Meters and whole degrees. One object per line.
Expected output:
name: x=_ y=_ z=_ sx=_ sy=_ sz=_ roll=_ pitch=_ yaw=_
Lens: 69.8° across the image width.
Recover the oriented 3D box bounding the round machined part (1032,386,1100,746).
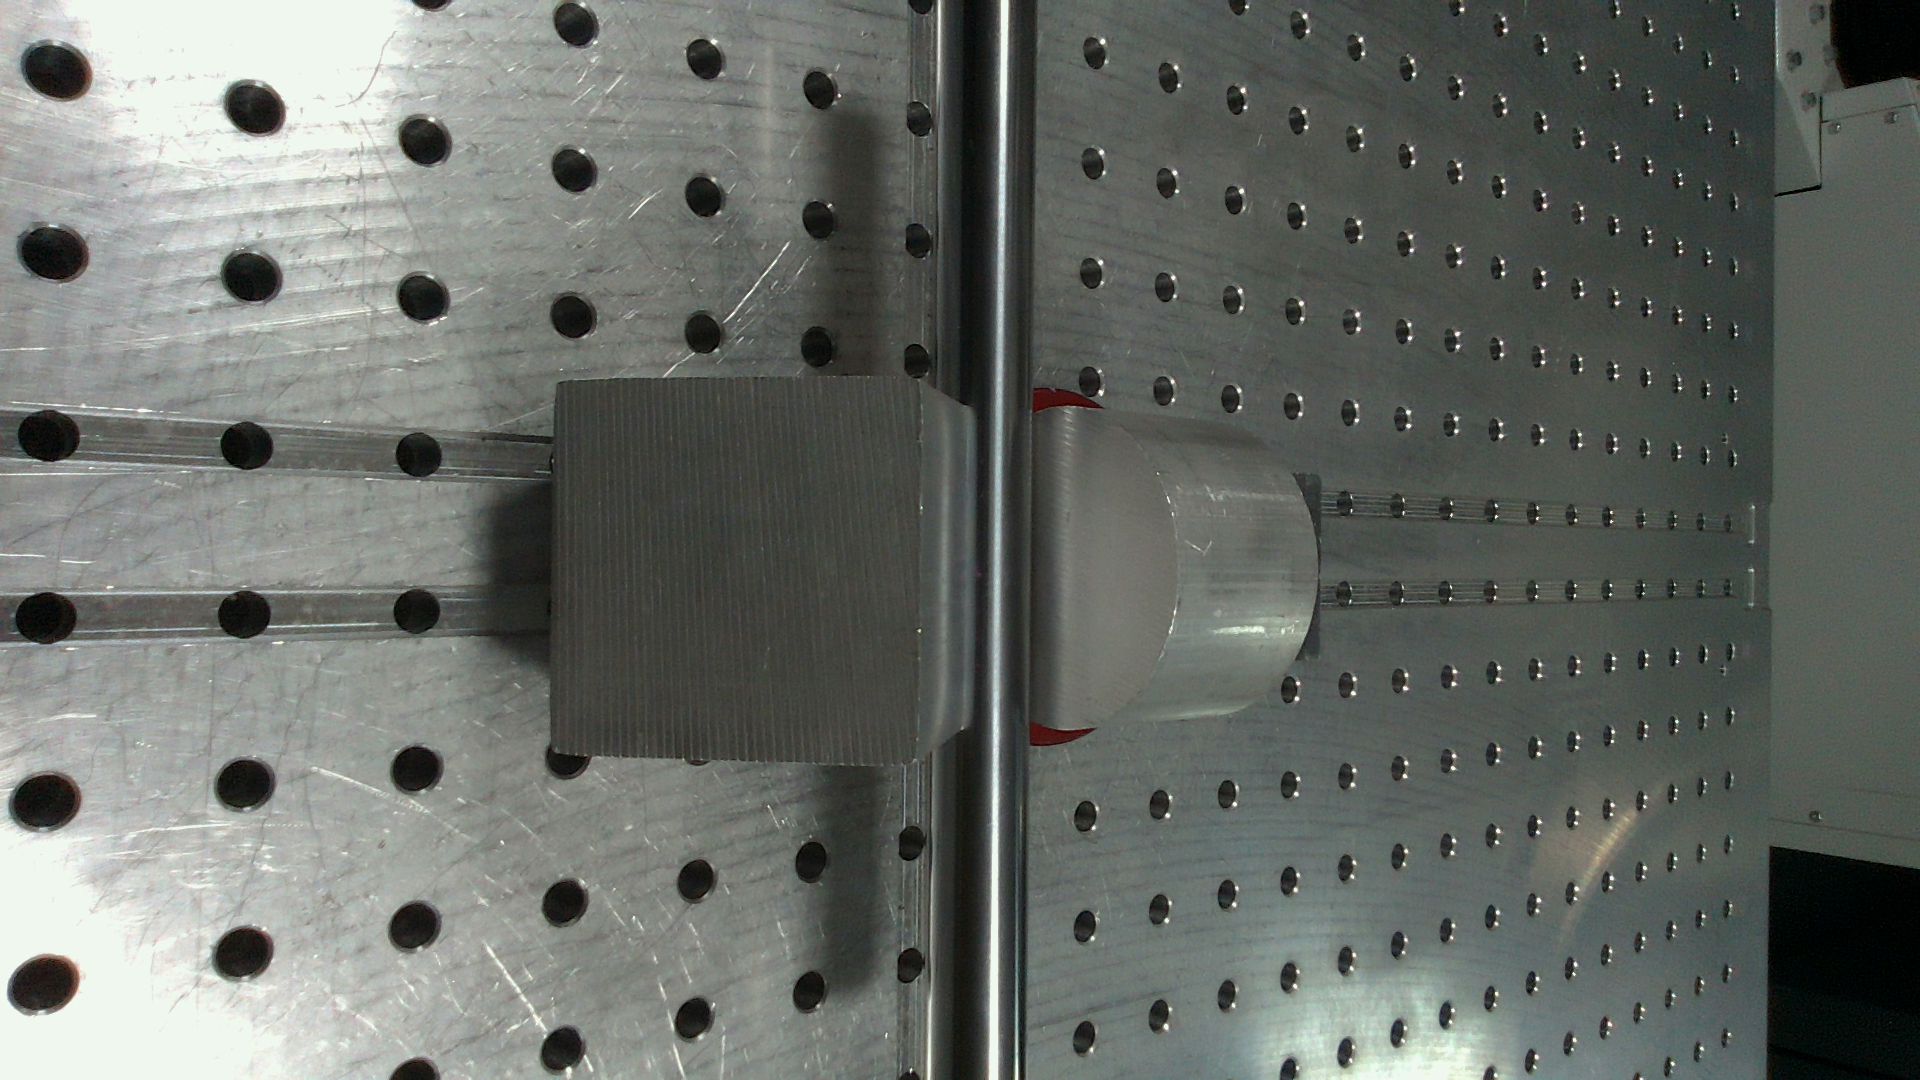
round machined part: x=0.014 y=0.007 z=0.391 sx=0.098 sy=0.042 sz=0.098 roll=0 pitch=90 yaw=-40

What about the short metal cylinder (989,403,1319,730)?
short metal cylinder: x=0.044 y=0.007 z=0.354 sx=0.050 sy=0.080 sz=0.080 roll=1 pitch=89 yaw=-40

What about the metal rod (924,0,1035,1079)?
metal rod: x=0.005 y=-0.001 z=0.342 sx=0.025 sy=0.025 sz=0.300 roll=1 pitch=89 yaw=-40

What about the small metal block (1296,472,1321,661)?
small metal block: x=0.071 y=0.007 z=0.380 sx=0.025 sy=0.050 sz=0.050 roll=2 pitch=89 yaw=-40

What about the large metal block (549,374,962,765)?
large metal block: x=-0.044 y=0.006 z=0.313 sx=0.050 sy=0.080 sz=0.080 roll=4 pitch=86 yaw=-81
